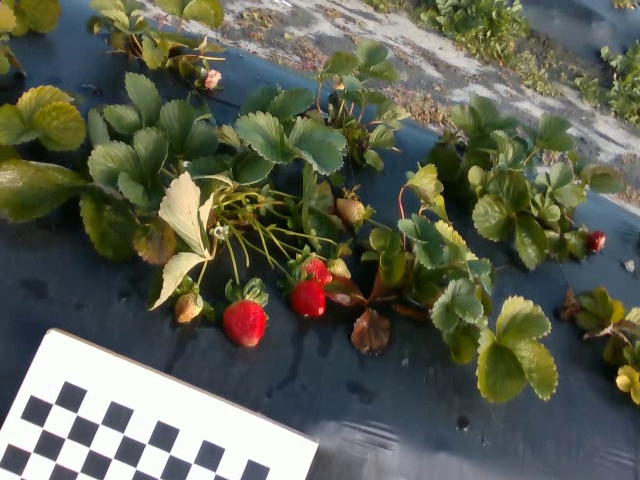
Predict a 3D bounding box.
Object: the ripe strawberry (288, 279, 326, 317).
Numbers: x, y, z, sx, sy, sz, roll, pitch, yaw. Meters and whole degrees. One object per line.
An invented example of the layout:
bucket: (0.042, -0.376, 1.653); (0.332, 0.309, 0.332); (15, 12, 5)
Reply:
ripe strawberry: (-0.012, 0.072, 0.698); (0.044, 0.042, 0.055); (-40, 39, -6)

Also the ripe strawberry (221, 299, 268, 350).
ripe strawberry: (-0.079, 0.091, 0.649); (0.050, 0.050, 0.065); (-16, 32, -5)
